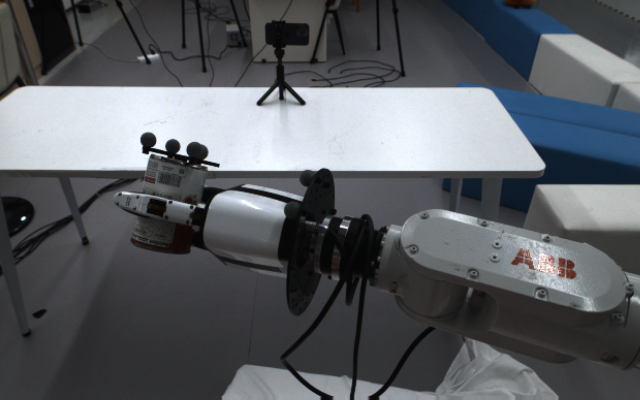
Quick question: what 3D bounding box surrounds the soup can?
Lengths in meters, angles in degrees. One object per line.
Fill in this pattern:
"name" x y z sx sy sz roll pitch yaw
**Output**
"soup can" -0.171 0.006 0.554 0.067 0.101 0.067 13 1 0
